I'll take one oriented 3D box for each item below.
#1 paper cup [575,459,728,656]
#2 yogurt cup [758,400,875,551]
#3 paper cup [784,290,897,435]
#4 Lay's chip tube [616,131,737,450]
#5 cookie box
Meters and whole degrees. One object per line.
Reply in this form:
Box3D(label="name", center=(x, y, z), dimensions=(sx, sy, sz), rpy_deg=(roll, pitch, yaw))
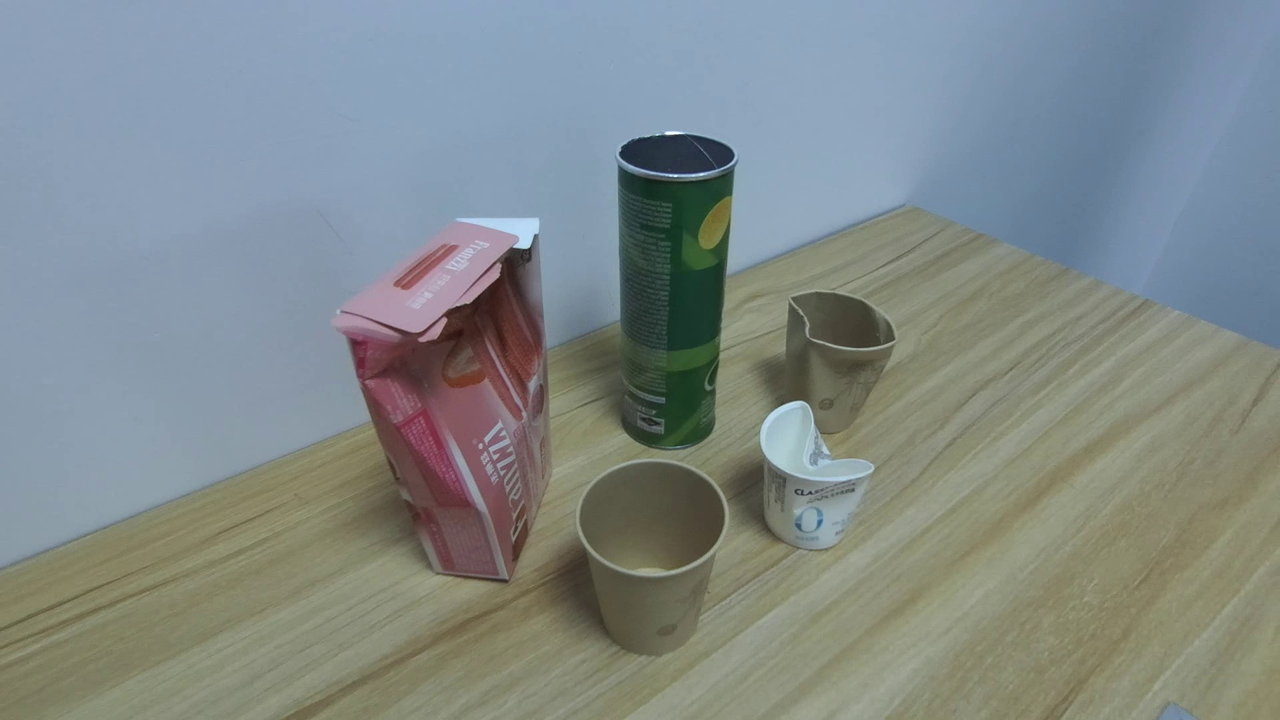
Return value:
Box3D(label="paper cup", center=(0.006, 0.107, 0.367), dimensions=(0.075, 0.082, 0.075), rpy_deg=(1, 38, 0))
Box3D(label="yogurt cup", center=(0.100, 0.072, 0.421), dimensions=(0.067, 0.070, 0.067), rpy_deg=(1, 39, -1))
Box3D(label="paper cup", center=(0.137, 0.003, 0.502), dimensions=(0.066, 0.084, 0.071), rpy_deg=(-3, 38, -2))
Box3D(label="Lay's chip tube", center=(0.021, -0.038, 0.457), dimensions=(0.071, 0.203, 0.071), rpy_deg=(0, 37, 0))
Box3D(label="cookie box", center=(-0.090, 0.029, 0.387), dimensions=(0.055, 0.184, 0.118), rpy_deg=(10, 38, 13))
